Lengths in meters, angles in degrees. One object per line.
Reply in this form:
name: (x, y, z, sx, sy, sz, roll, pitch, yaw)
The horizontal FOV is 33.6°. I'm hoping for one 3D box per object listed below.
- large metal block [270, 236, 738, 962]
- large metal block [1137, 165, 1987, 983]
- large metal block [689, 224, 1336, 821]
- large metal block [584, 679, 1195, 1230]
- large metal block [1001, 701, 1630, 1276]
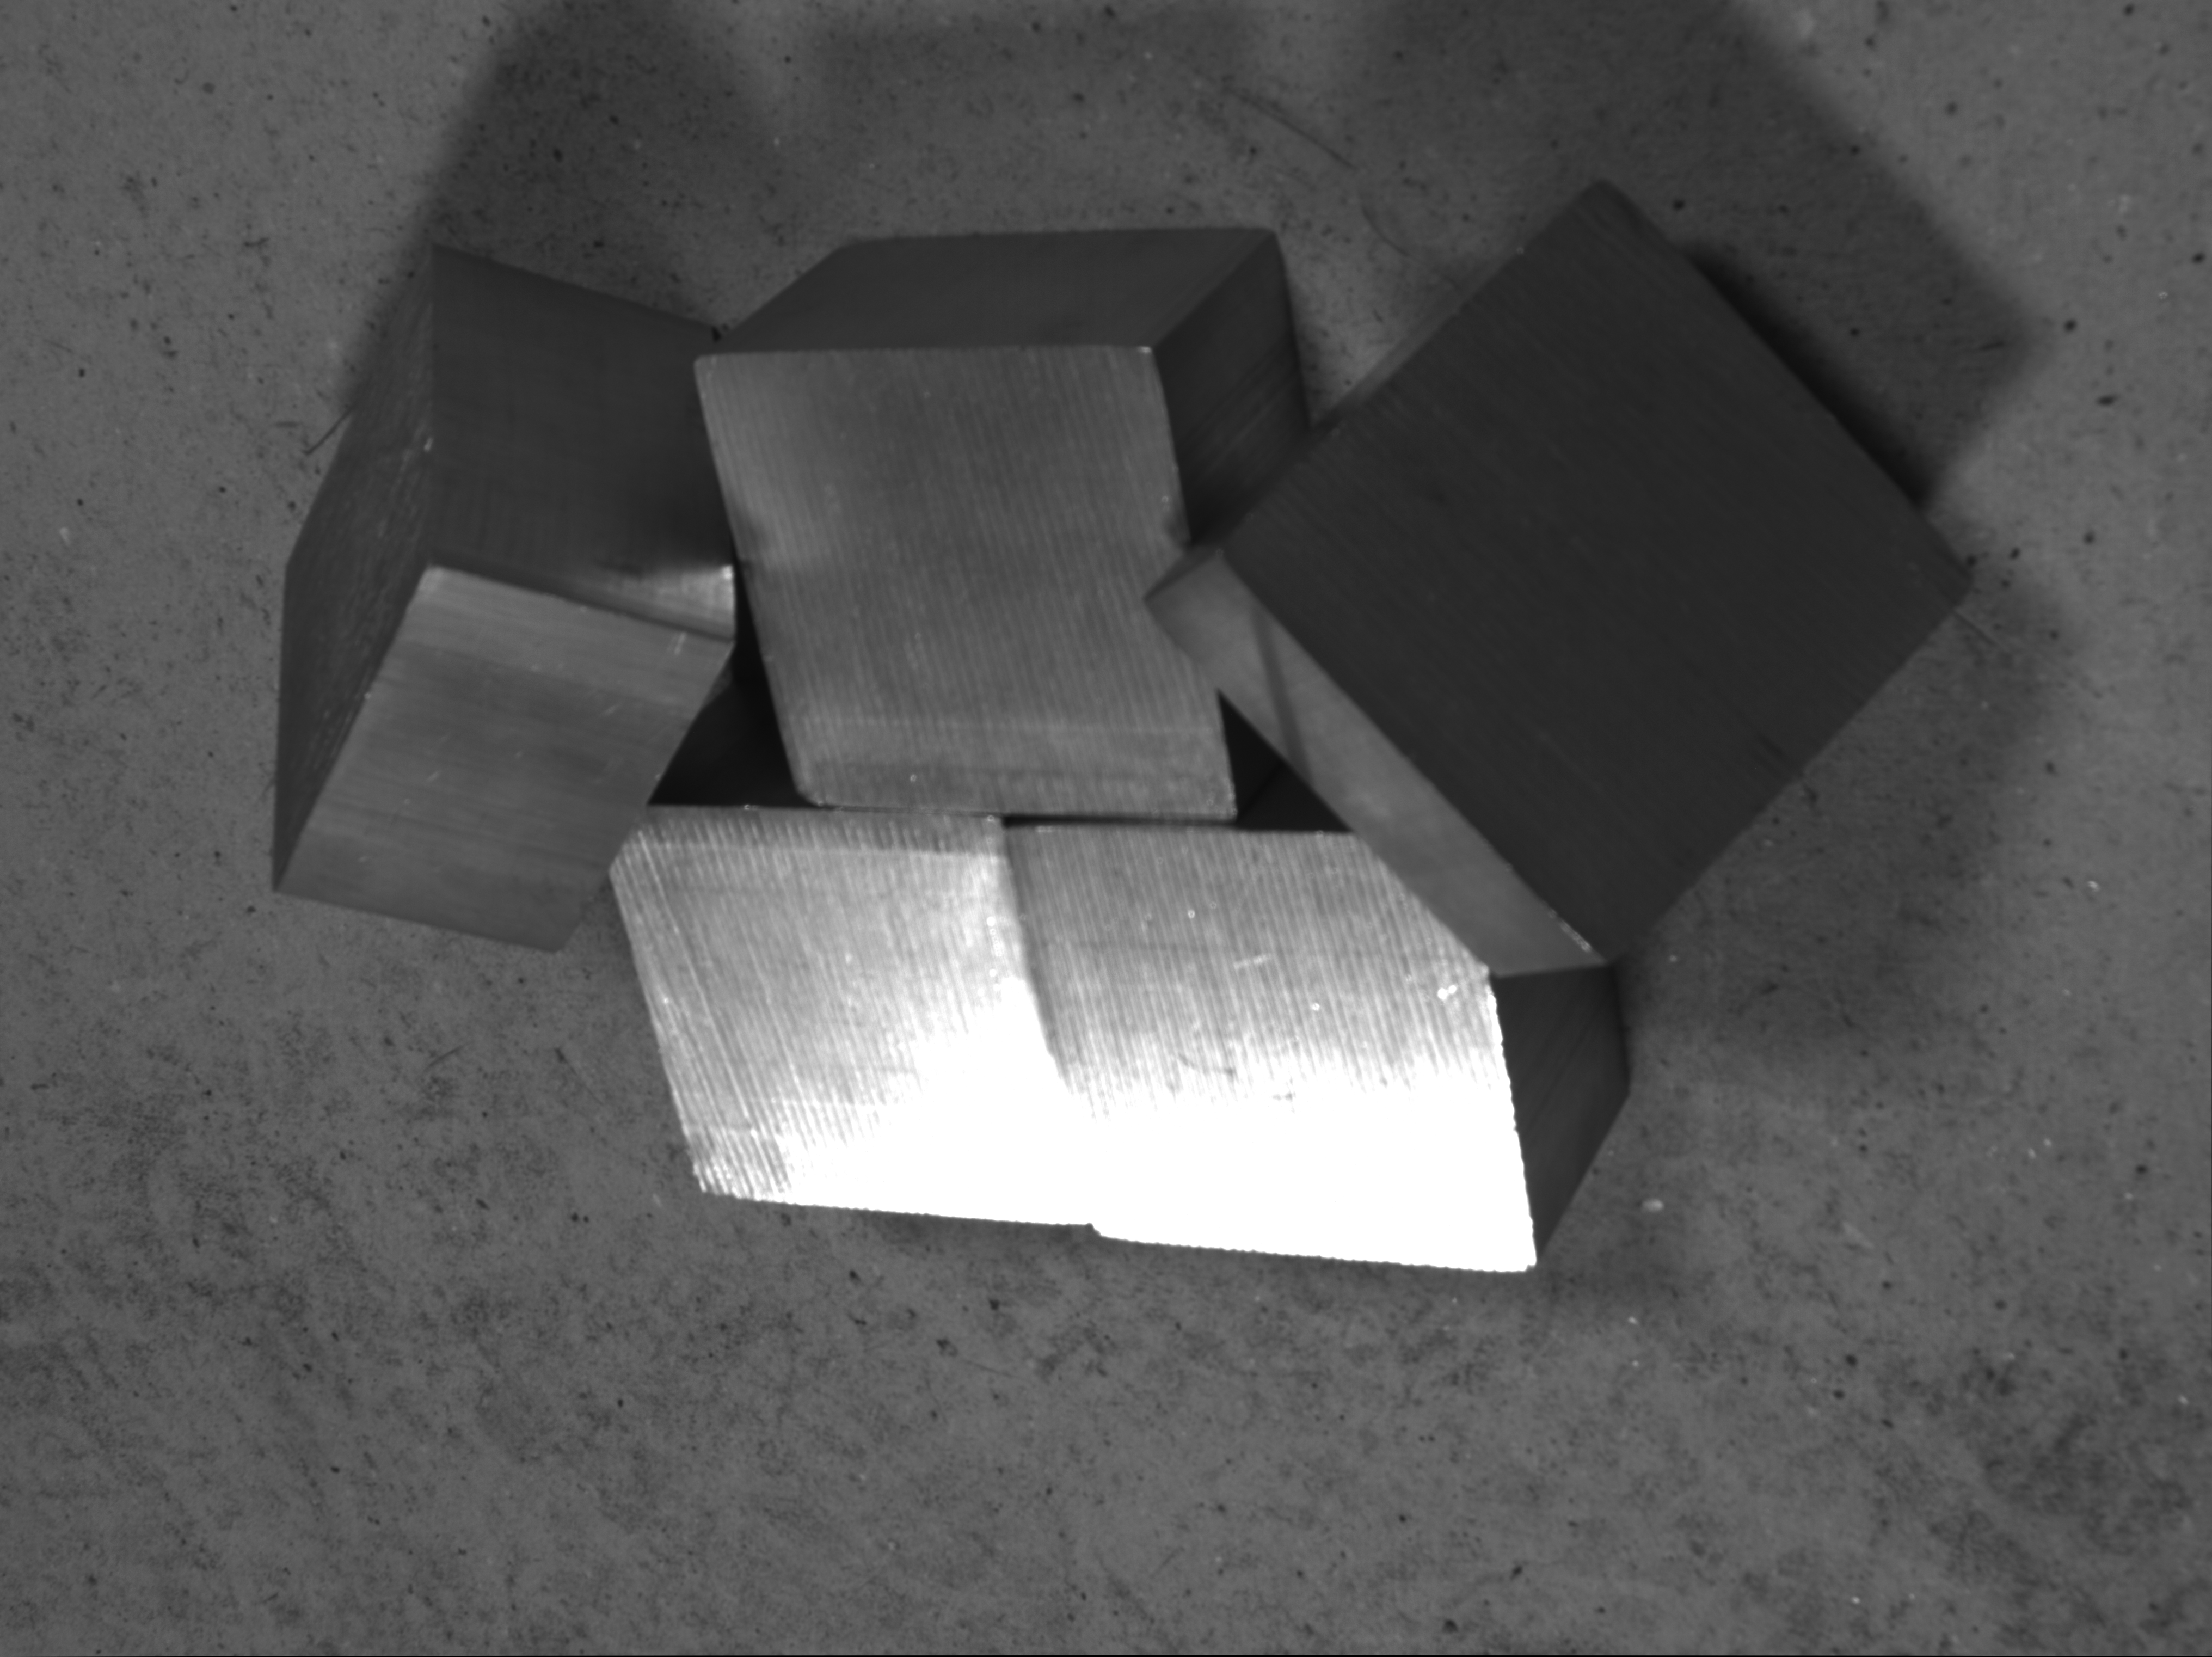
large metal block: (-0.103, -0.038, 0.616, 0.050, 0.080, 0.080, 14, 132, -24)
large metal block: (0.065, -0.035, 0.535, 0.080, 0.080, 0.050, 46, 168, -5)
large metal block: (-0.012, -0.050, 0.592, 0.080, 0.050, 0.080, 3, 119, 25)
large metal block: (-0.036, 0.021, 0.645, 0.080, 0.050, 0.080, 1, 119, 26)
large metal block: (0.037, 0.024, 0.609, 0.080, 0.050, 0.080, 1, 119, 26)
